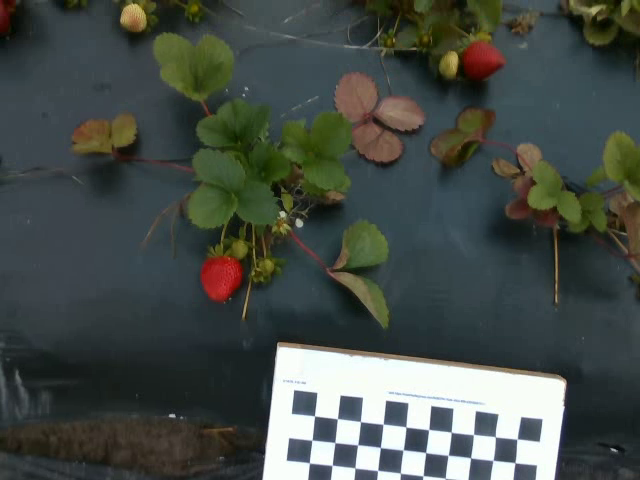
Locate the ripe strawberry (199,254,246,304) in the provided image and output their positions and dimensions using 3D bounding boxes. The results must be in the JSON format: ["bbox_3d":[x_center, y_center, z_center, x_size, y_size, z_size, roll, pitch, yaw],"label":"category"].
[{"bbox_3d":[-0.030,0.012,0.231,0.018,0.017,0.014,11,-38,-12],"label":"ripe strawberry"}]
